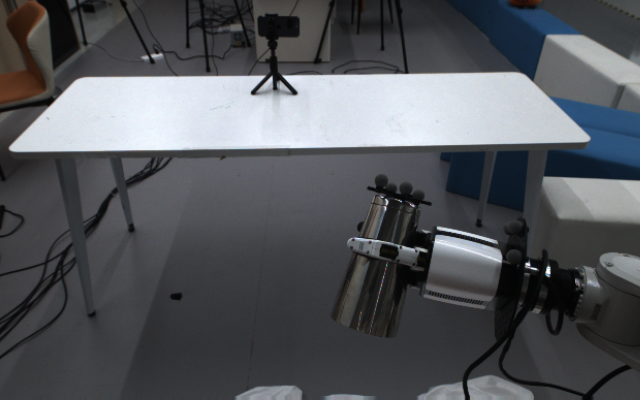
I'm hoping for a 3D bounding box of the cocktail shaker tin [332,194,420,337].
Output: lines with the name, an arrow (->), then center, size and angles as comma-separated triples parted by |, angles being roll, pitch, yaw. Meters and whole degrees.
cocktail shaker tin -> 0.082, 0.084, 0.644 | 0.093, 0.170, 0.093 | 15, -2, 1
